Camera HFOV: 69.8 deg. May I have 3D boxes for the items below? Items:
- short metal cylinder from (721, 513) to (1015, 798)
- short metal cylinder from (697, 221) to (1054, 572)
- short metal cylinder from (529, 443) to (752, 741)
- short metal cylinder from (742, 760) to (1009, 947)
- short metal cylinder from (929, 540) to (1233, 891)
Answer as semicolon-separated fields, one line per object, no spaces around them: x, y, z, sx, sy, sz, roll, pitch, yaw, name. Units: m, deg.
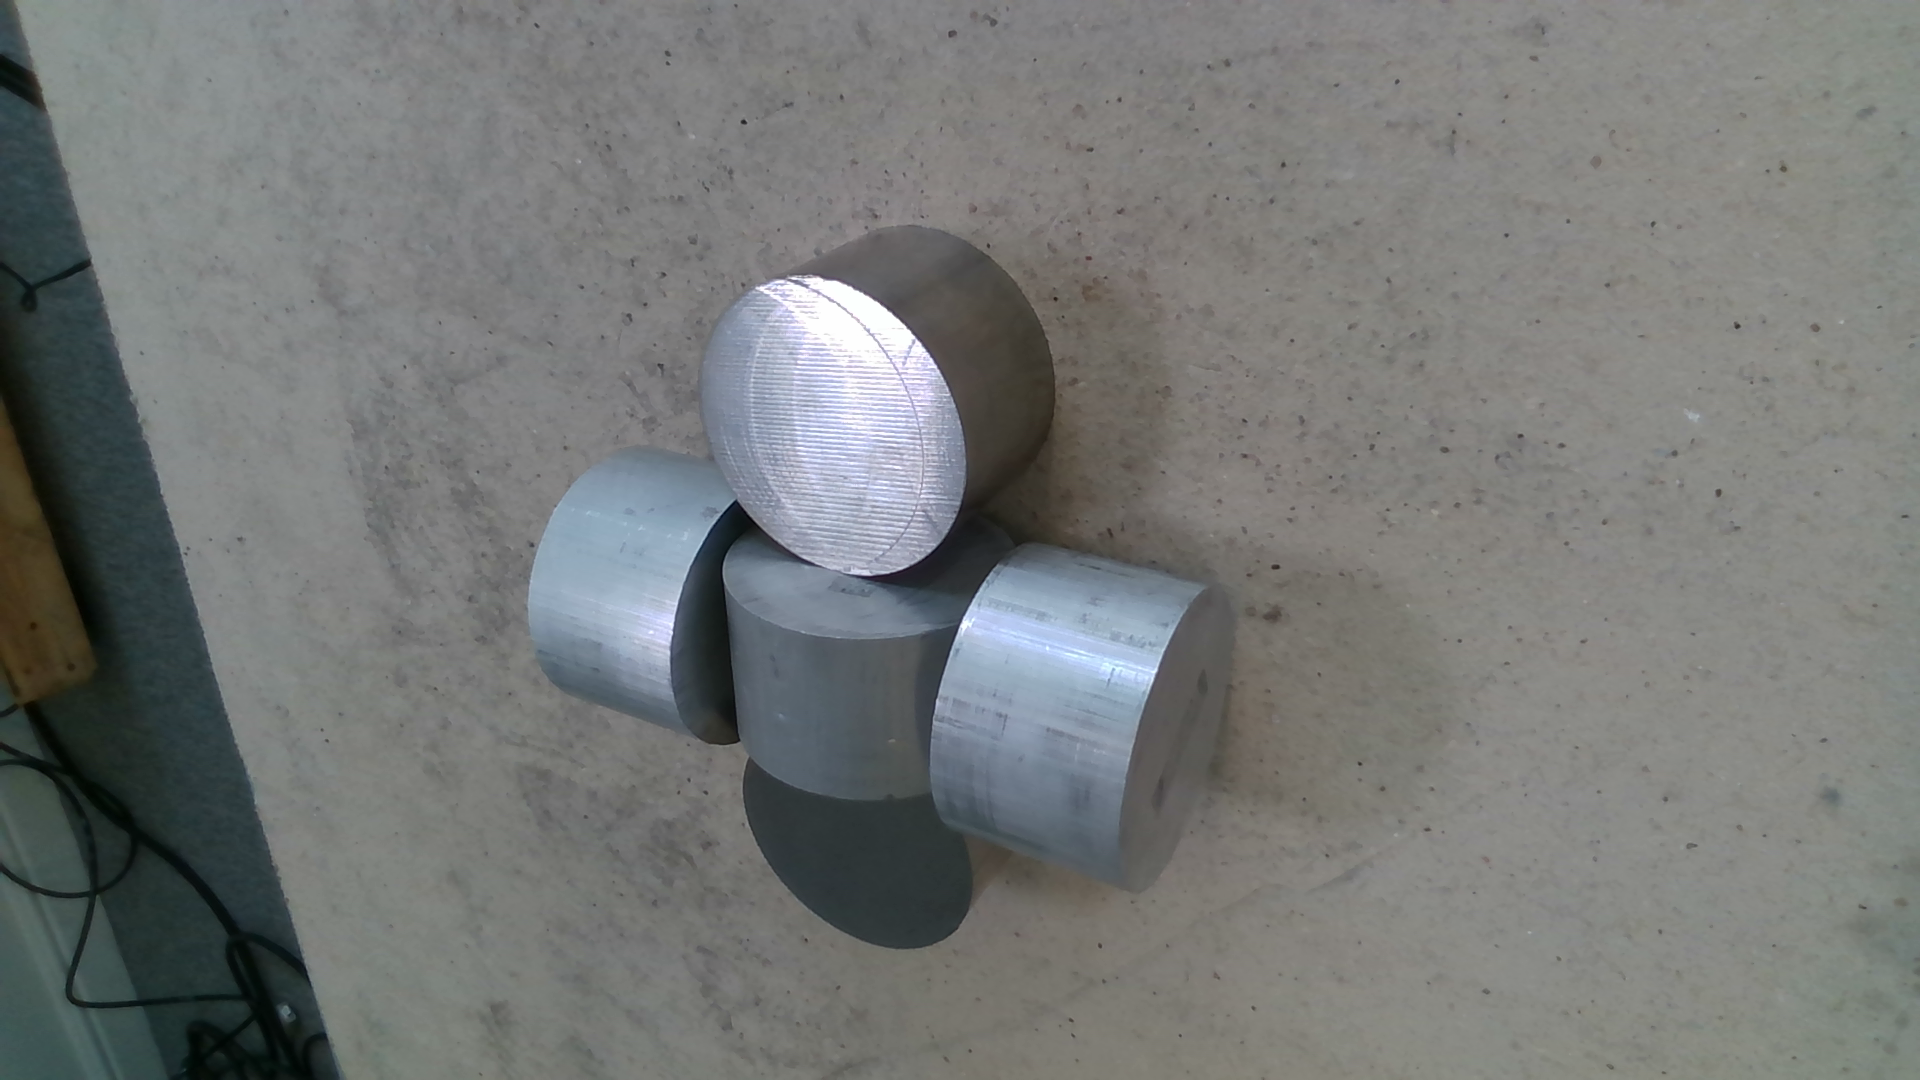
-0.024;0.027;0.384;0.080;0.080;0.050;15;122;25;short metal cylinder
-0.022;-0.038;0.366;0.080;0.050;0.080;15;123;24;short metal cylinder
-0.081;0.014;0.412;0.050;0.080;0.080;14;122;24;short metal cylinder
-0.020;0.077;0.427;0.080;0.050;0.080;15;122;25;short metal cylinder
0.033;0.044;0.358;0.050;0.080;0.080;14;122;25;short metal cylinder
